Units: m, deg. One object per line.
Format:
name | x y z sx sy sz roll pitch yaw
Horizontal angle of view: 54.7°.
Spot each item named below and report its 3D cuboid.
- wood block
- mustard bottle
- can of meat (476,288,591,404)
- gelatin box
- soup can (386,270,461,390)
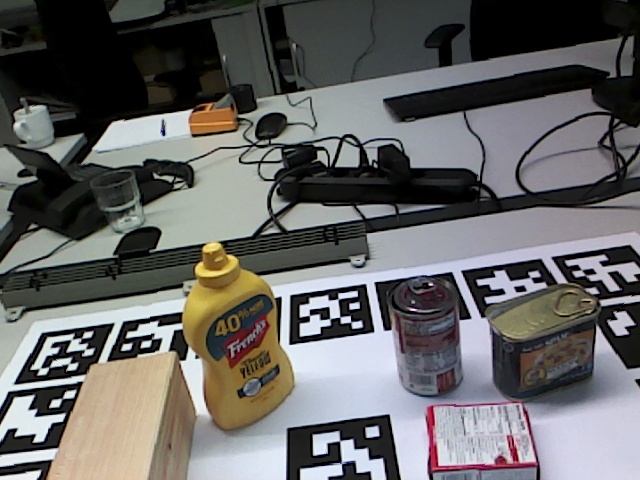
wood block | -0.179 0.201 0.546 0.091 0.089 0.207 -7 25 3
mustard bottle | -0.091 0.096 0.610 0.096 0.191 0.059 -20 30 -20
can of meat | 0.205 0.104 0.602 0.101 0.083 0.058 -13 30 -10
gelatin box | 0.135 0.180 0.535 0.089 0.030 0.073 -5 31 14
soup can | 0.105 0.091 0.619 0.068 0.101 0.068 -8 31 5
